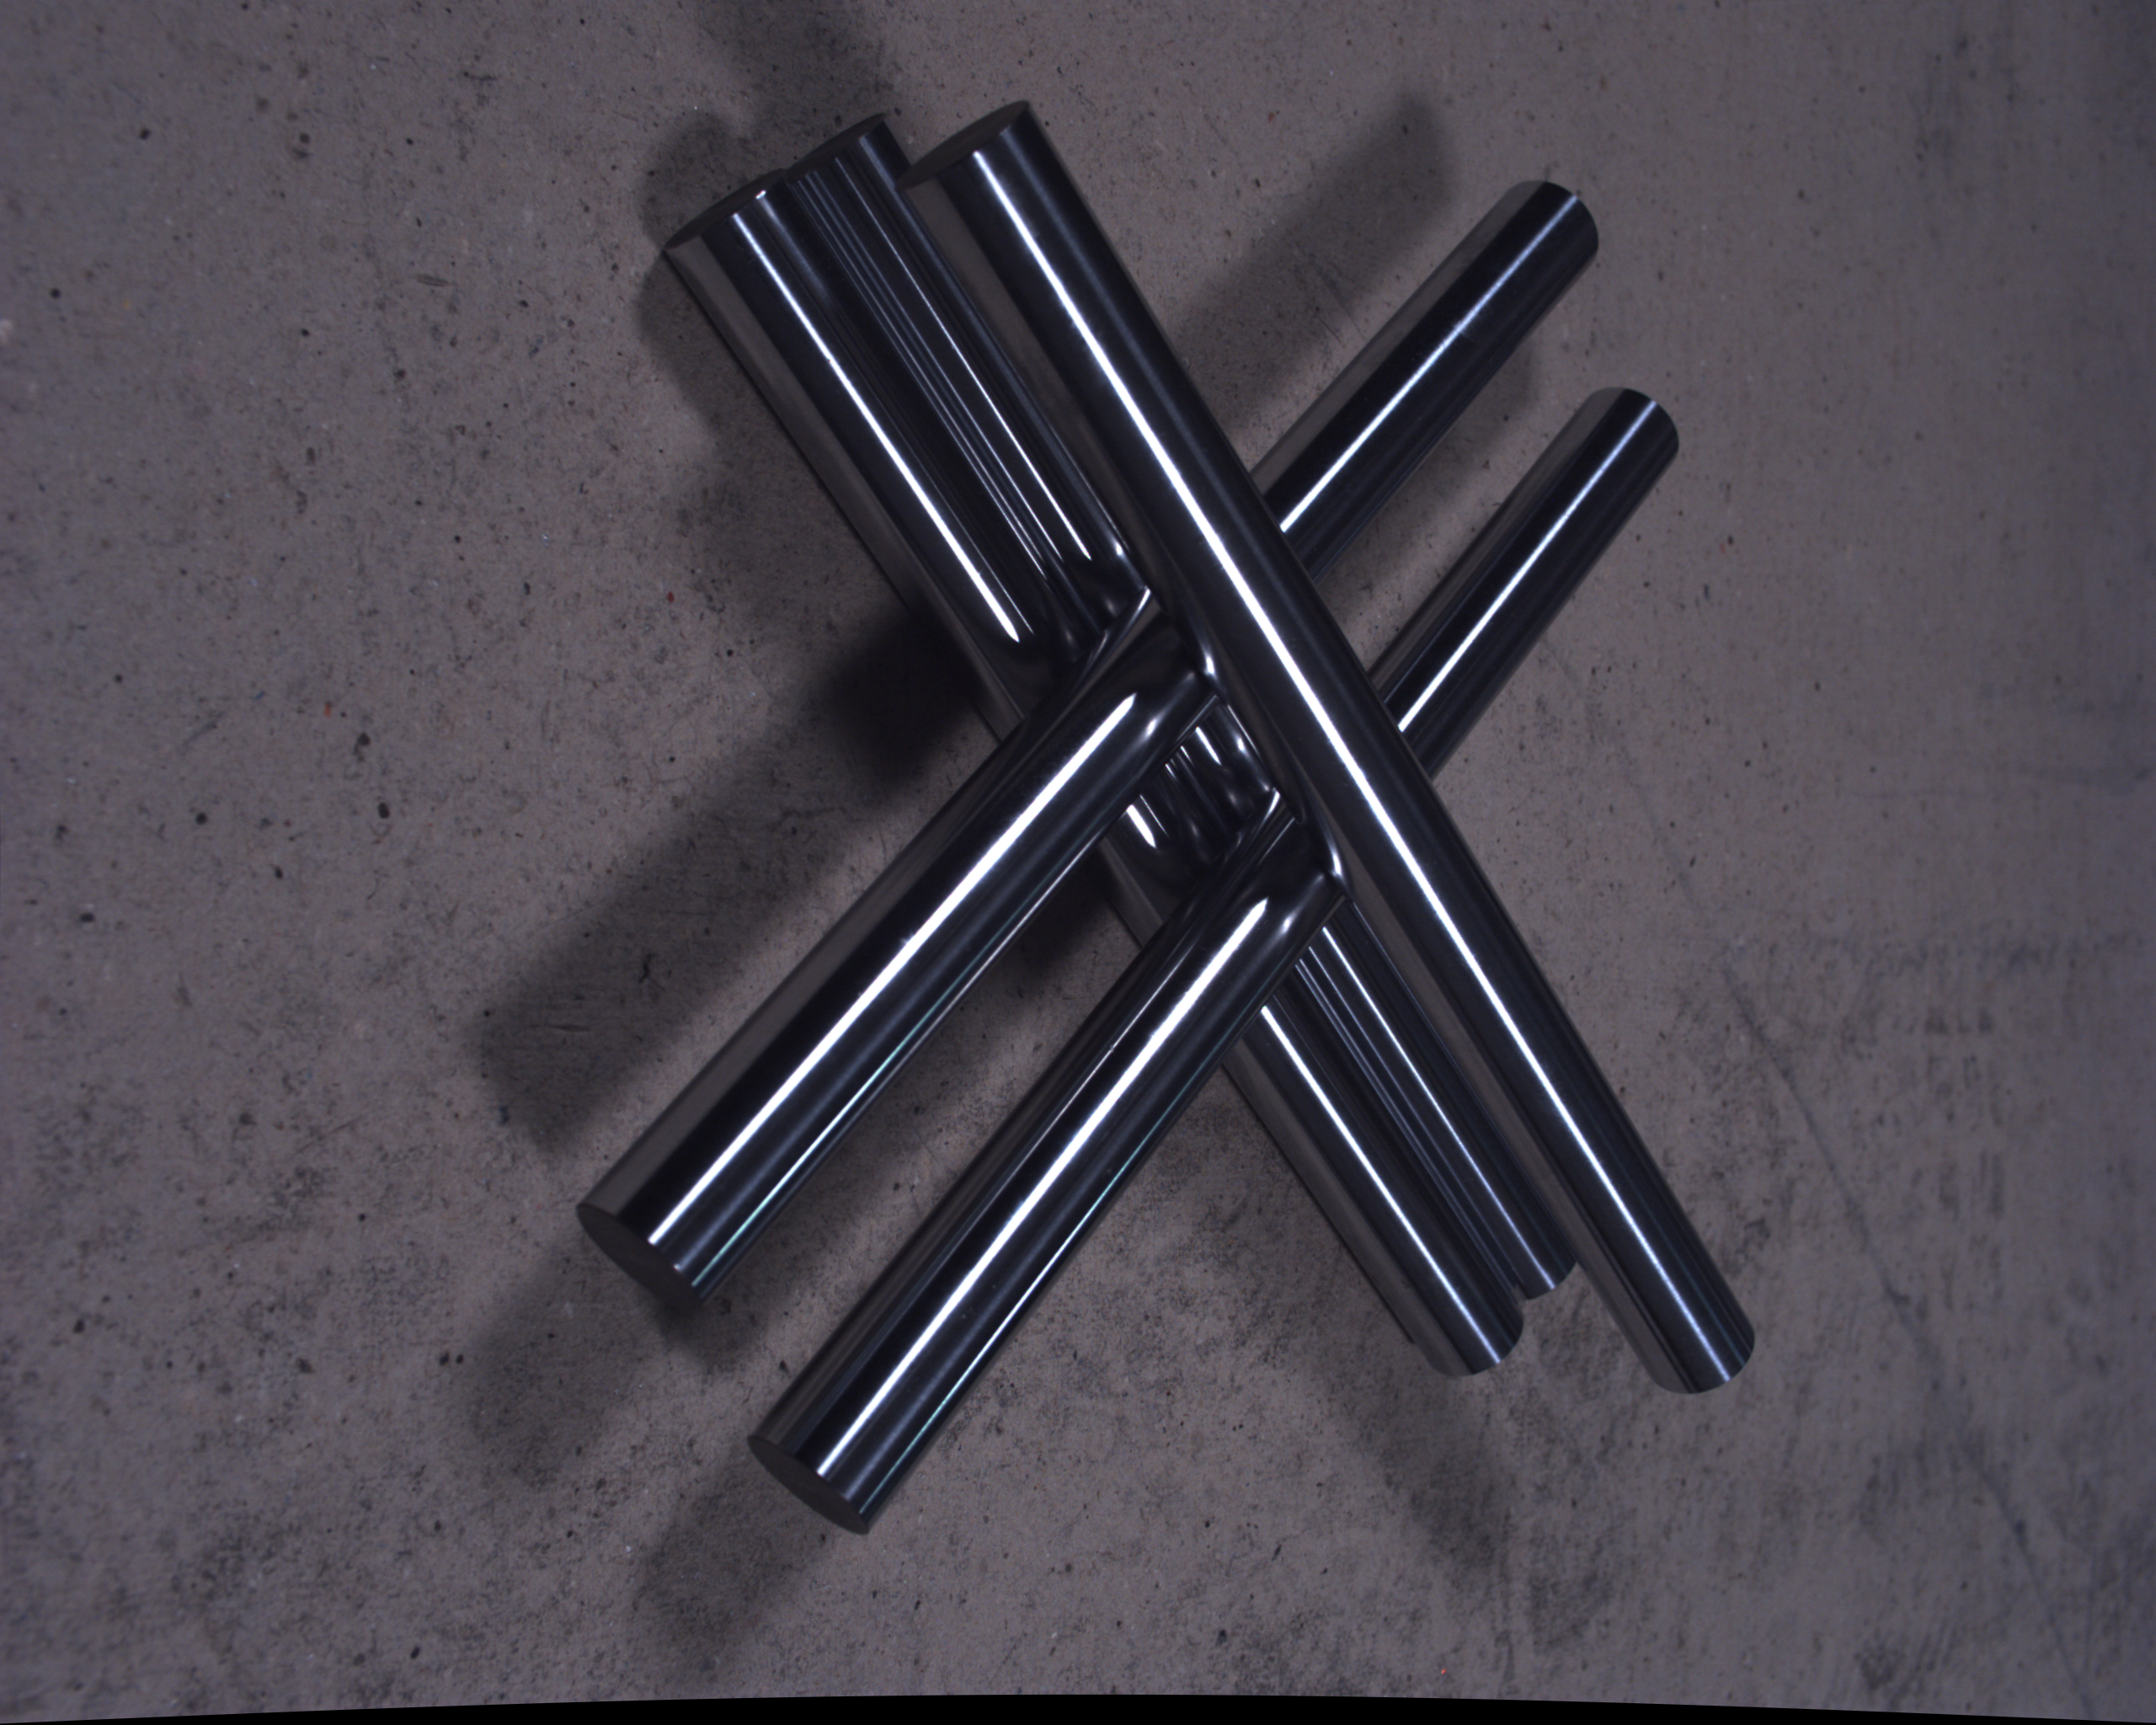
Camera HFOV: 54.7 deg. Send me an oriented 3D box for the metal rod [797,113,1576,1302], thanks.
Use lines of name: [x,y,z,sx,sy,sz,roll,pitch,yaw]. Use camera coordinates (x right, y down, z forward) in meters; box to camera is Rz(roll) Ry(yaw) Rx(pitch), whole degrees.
metal rod: [0.032,-0.015,0.435,0.025,0.025,0.299,-50,120,-29]

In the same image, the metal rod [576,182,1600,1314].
metal rod: [0.019,-0.040,0.391,0.301,0.025,0.025,-49,120,-29]

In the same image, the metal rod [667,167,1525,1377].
metal rod: [0.016,-0.001,0.422,0.025,0.025,0.299,-50,120,-29]

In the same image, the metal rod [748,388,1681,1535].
metal rod: [0.042,0.001,0.411,0.301,0.025,0.025,-49,120,-29]

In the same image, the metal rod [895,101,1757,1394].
metal rod: [0.060,-0.003,0.393,0.025,0.025,0.299,-51,120,-28]
